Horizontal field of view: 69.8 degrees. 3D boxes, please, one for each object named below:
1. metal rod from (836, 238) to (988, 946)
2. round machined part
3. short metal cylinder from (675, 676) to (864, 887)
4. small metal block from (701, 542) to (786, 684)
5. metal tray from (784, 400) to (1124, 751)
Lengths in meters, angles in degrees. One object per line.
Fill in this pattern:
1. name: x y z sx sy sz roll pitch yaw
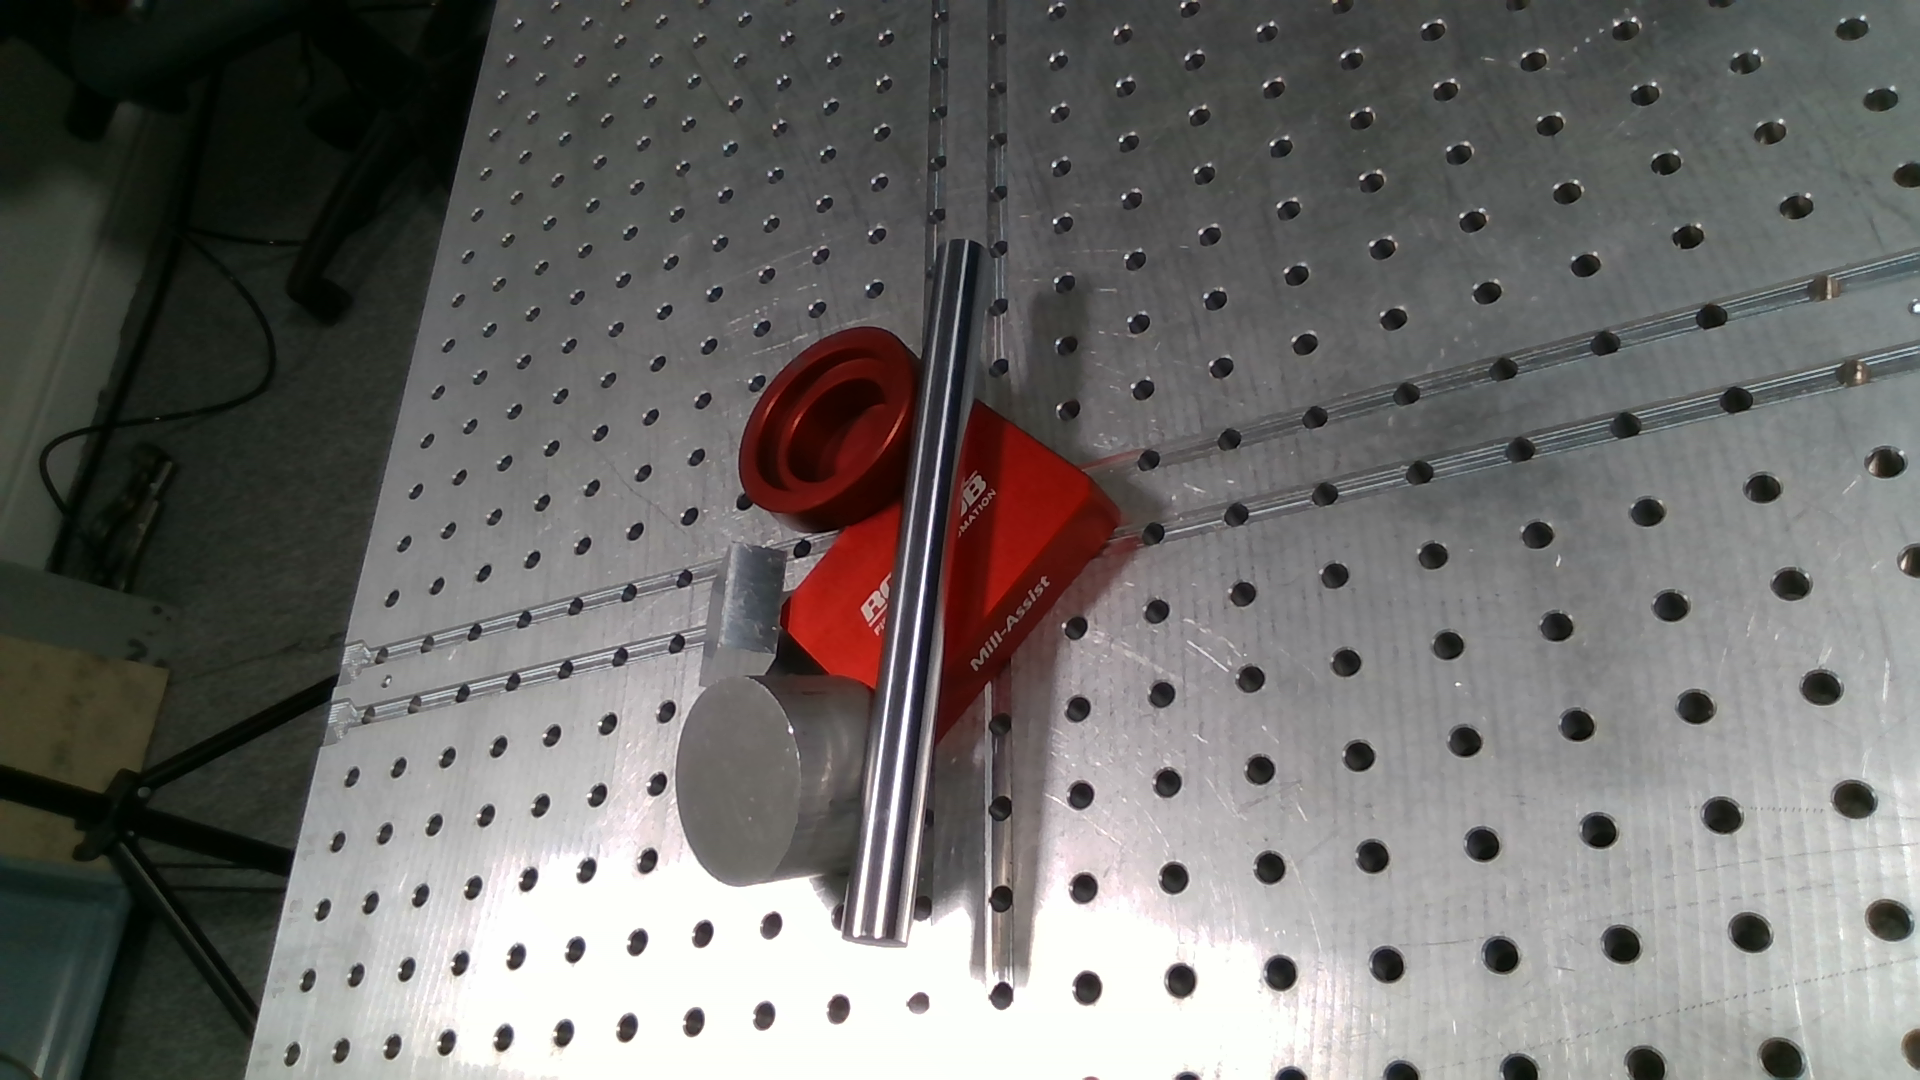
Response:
1. metal rod: -0.016 0.008 0.553 0.025 0.025 0.299 -7 62 28
2. round machined part: -0.050 -0.046 0.627 0.098 0.042 0.098 -21 50 28
3. short metal cylinder: -0.069 0.094 0.546 0.080 0.050 0.080 -4 84 45
4. small metal block: -0.097 0.036 0.612 0.050 0.025 0.050 127 149 -59
5. metal tray: -0.005 0.013 0.583 0.130 0.030 0.090 -50 51 -1
